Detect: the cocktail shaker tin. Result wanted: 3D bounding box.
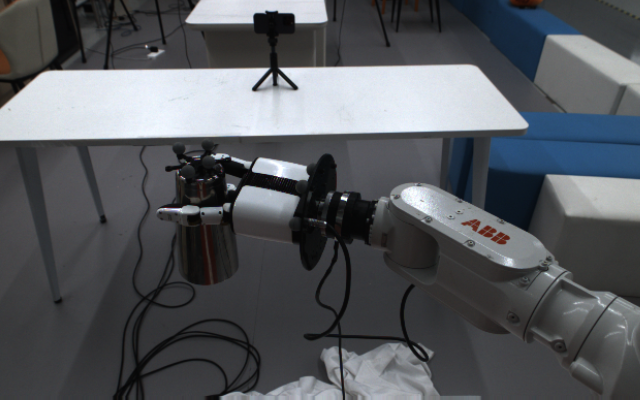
[{"bbox_3d":[-0.166,0.028,0.707,0.093,0.170,0.093,3,33,-2],"label":"cocktail shaker tin"}]
